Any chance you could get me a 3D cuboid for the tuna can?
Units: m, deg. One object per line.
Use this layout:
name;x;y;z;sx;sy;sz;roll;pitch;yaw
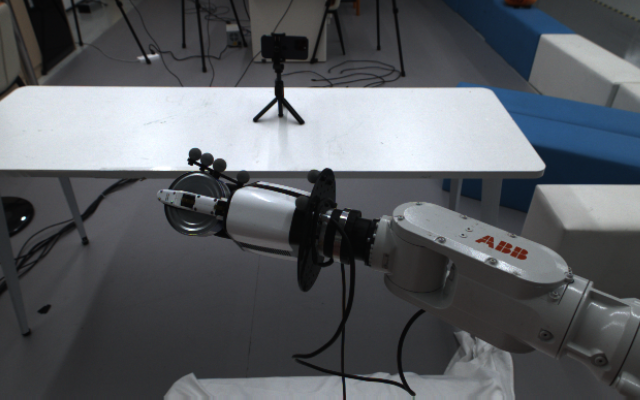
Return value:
tuna can;-0.160;0.006;0.646;0.085;0.085;0.034;13;-6;16
